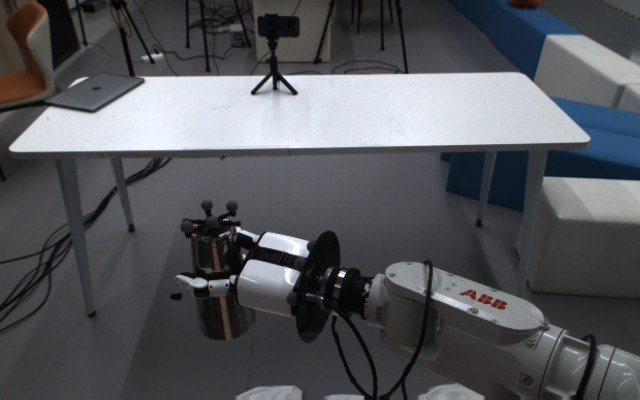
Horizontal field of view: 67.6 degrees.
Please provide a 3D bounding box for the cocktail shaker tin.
[{"bbox_3d":[-0.151,0.116,0.738,0.093,0.170,0.093,-3,26,1],"label":"cocktail shaker tin"}]
